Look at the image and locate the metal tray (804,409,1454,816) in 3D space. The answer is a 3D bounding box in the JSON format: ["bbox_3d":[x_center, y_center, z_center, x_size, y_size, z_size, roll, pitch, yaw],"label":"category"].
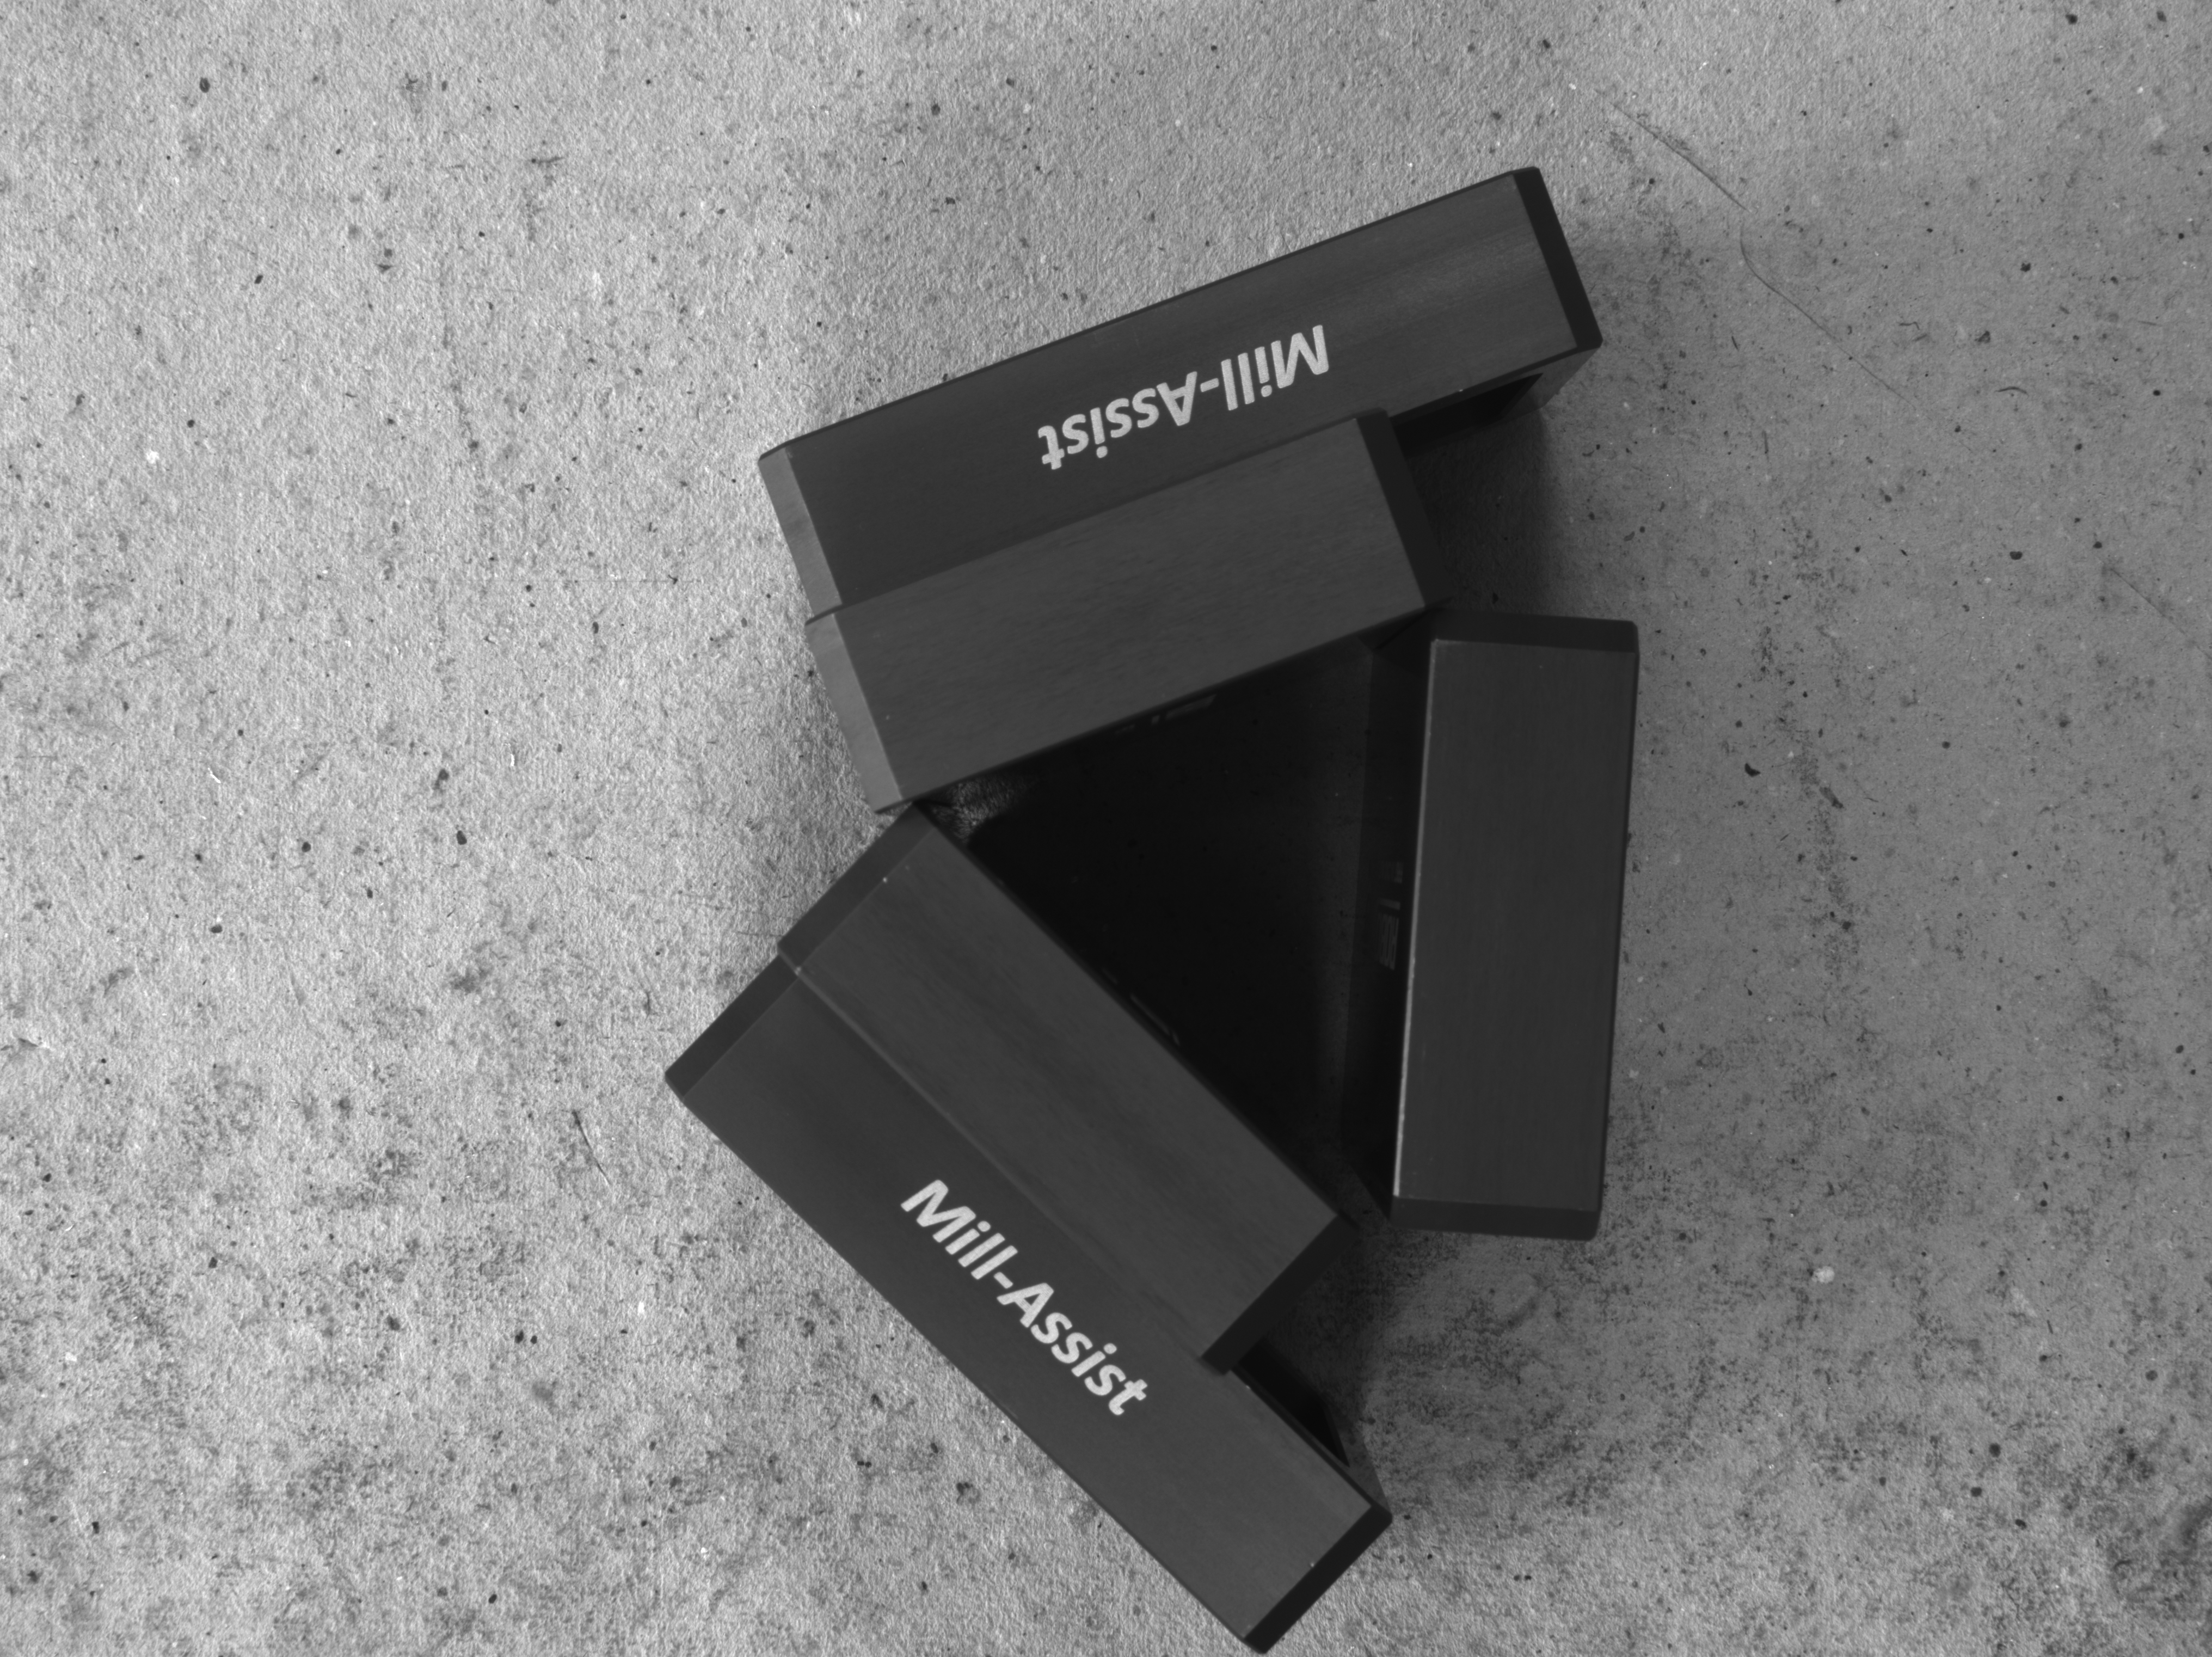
[{"bbox_3d":[0.004,-0.031,0.593,0.090,0.130,0.030,-20,90,0],"label":"metal tray"}]

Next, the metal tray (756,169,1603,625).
[{"bbox_3d":[0.012,-0.066,0.613,0.130,0.090,0.030,-20,90,0],"label":"metal tray"}]

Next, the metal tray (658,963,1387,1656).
[{"bbox_3d":[-0.013,0.074,0.612,0.130,0.090,0.030,44,90,0],"label":"metal tray"}]

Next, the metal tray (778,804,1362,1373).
[{"bbox_3d":[-0.005,0.038,0.593,0.090,0.130,0.030,44,90,0],"label":"metal tray"}]

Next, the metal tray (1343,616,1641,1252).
[{"bbox_3d":[0.059,0.015,0.593,0.030,0.130,0.090,5,90,0],"label":"metal tray"}]
